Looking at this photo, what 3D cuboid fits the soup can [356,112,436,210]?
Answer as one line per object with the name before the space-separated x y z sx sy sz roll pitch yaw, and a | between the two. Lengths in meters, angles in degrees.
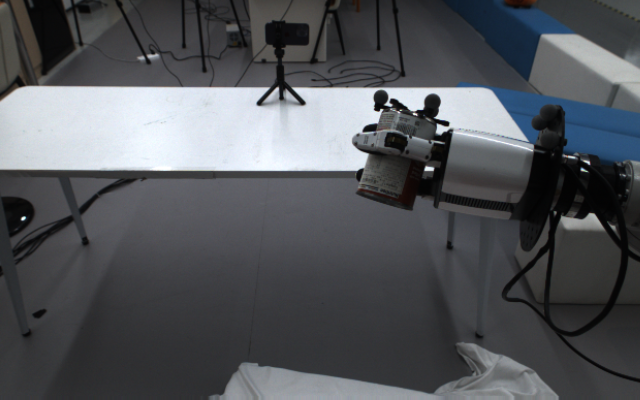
soup can | 0.090 -0.046 0.558 0.067 0.101 0.067 17 -1 0
